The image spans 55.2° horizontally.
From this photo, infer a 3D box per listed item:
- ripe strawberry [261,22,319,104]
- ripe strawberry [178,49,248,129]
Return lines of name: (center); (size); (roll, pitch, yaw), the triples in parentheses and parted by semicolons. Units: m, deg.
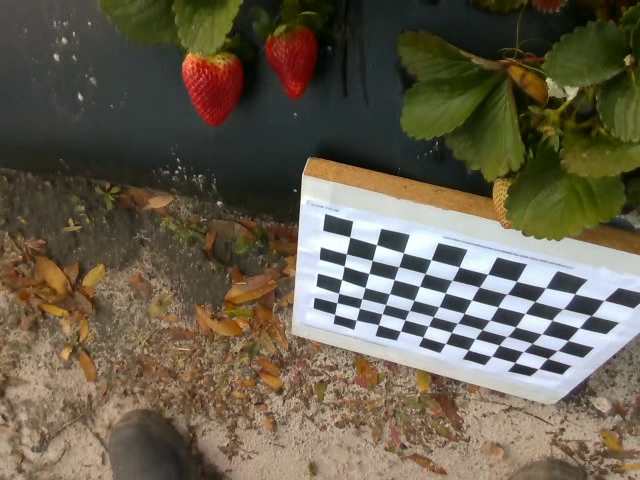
ripe strawberry: (-0.021, -0.123, 0.420); (0.042, 0.053, 0.034); (8, 21, 21)
ripe strawberry: (-0.080, -0.112, 0.449); (0.050, 0.061, 0.045); (11, 18, 16)
